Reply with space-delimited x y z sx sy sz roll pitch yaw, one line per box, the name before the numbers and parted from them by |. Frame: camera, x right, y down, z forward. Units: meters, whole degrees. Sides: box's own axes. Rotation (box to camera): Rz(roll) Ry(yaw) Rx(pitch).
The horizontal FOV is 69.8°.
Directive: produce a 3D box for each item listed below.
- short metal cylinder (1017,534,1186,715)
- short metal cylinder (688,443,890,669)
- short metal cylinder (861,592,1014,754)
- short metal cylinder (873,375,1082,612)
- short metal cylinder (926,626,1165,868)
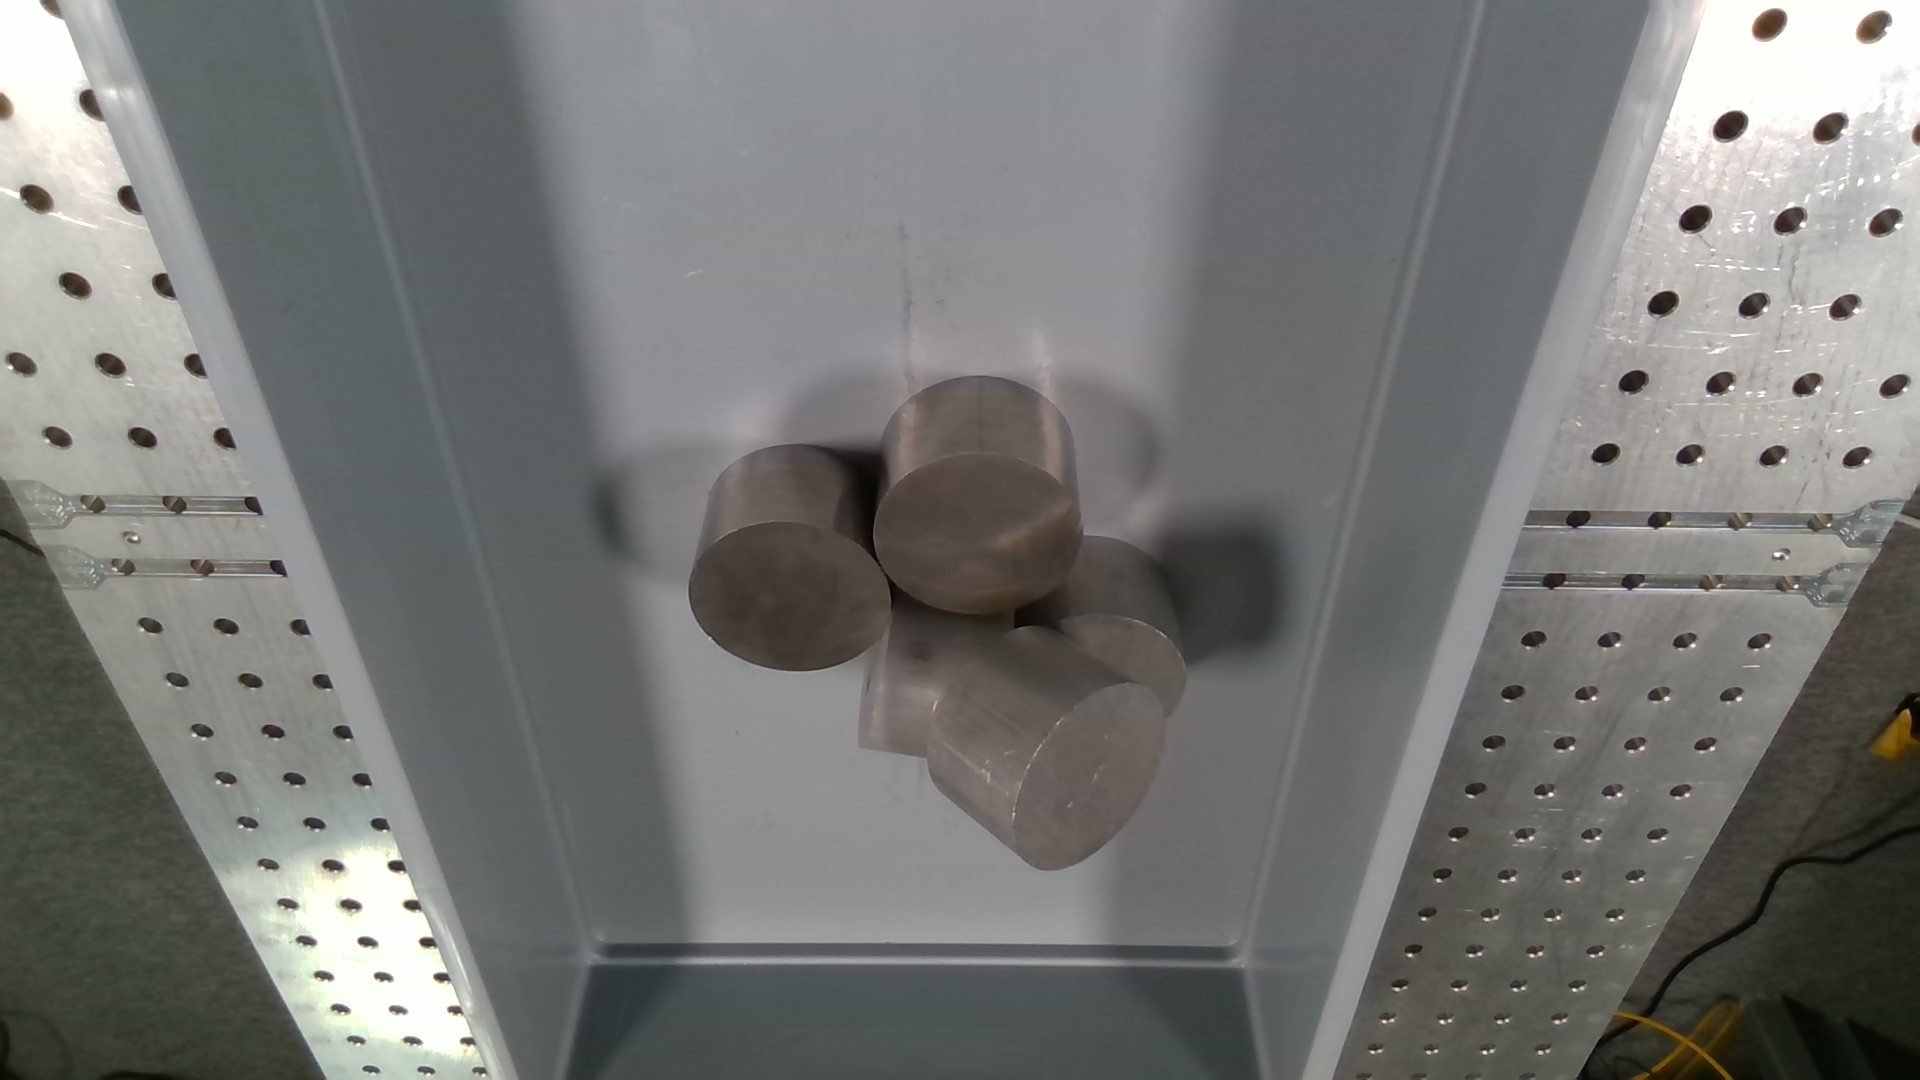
short metal cylinder | 0.055 0.044 0.598 0.080 0.050 0.080 0 130 0
short metal cylinder | -0.068 0.007 0.567 0.080 0.050 0.080 0 130 0
short metal cylinder | -0.011 0.051 0.586 0.050 0.080 0.080 10 129 -9
short metal cylinder | 0.007 -0.018 0.545 0.080 0.050 0.080 0 130 0
short metal cylinder | 0.034 0.080 0.537 0.080 0.050 0.080 -23 128 -33
